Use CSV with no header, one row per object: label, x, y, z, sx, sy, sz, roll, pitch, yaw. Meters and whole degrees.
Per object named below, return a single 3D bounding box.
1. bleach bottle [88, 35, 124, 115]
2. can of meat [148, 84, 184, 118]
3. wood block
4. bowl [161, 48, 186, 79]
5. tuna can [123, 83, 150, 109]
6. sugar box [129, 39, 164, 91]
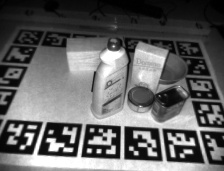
bleach bottle,-0.019,-0.024,0.595,0.103,0.252,0.067,-18,50,-18
can of meat,0.162,0.044,0.666,0.103,0.084,0.057,-20,49,-23
wood block,-0.073,-0.129,0.795,0.207,0.090,0.090,-4,53,-9
bowl,0.184,-0.073,0.787,0.161,0.055,0.161,0,48,1
tuna can,0.077,0.033,0.693,0.086,0.034,0.085,2,51,-2
sugar box,0.104,-0.058,0.682,0.092,0.177,0.045,16,51,16
